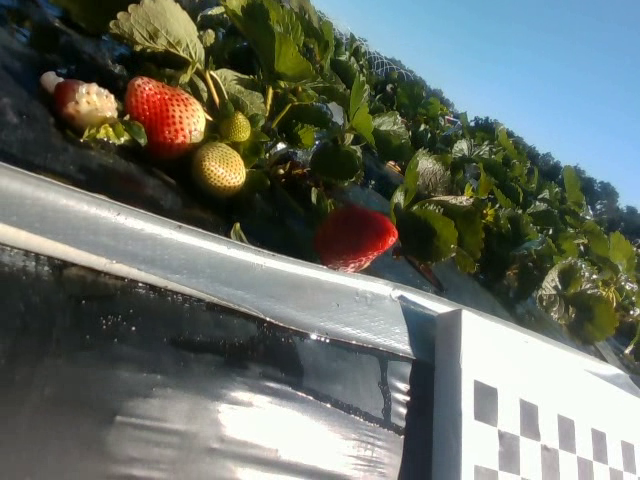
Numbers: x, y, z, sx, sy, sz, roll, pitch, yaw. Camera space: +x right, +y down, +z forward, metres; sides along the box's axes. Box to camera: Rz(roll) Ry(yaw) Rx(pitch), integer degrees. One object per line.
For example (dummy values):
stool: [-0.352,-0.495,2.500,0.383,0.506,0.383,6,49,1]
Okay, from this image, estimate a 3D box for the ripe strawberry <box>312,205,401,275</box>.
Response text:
ripe strawberry: [0.017,-0.001,0.260,0.036,0.038,0.045,23,-16,-31]
